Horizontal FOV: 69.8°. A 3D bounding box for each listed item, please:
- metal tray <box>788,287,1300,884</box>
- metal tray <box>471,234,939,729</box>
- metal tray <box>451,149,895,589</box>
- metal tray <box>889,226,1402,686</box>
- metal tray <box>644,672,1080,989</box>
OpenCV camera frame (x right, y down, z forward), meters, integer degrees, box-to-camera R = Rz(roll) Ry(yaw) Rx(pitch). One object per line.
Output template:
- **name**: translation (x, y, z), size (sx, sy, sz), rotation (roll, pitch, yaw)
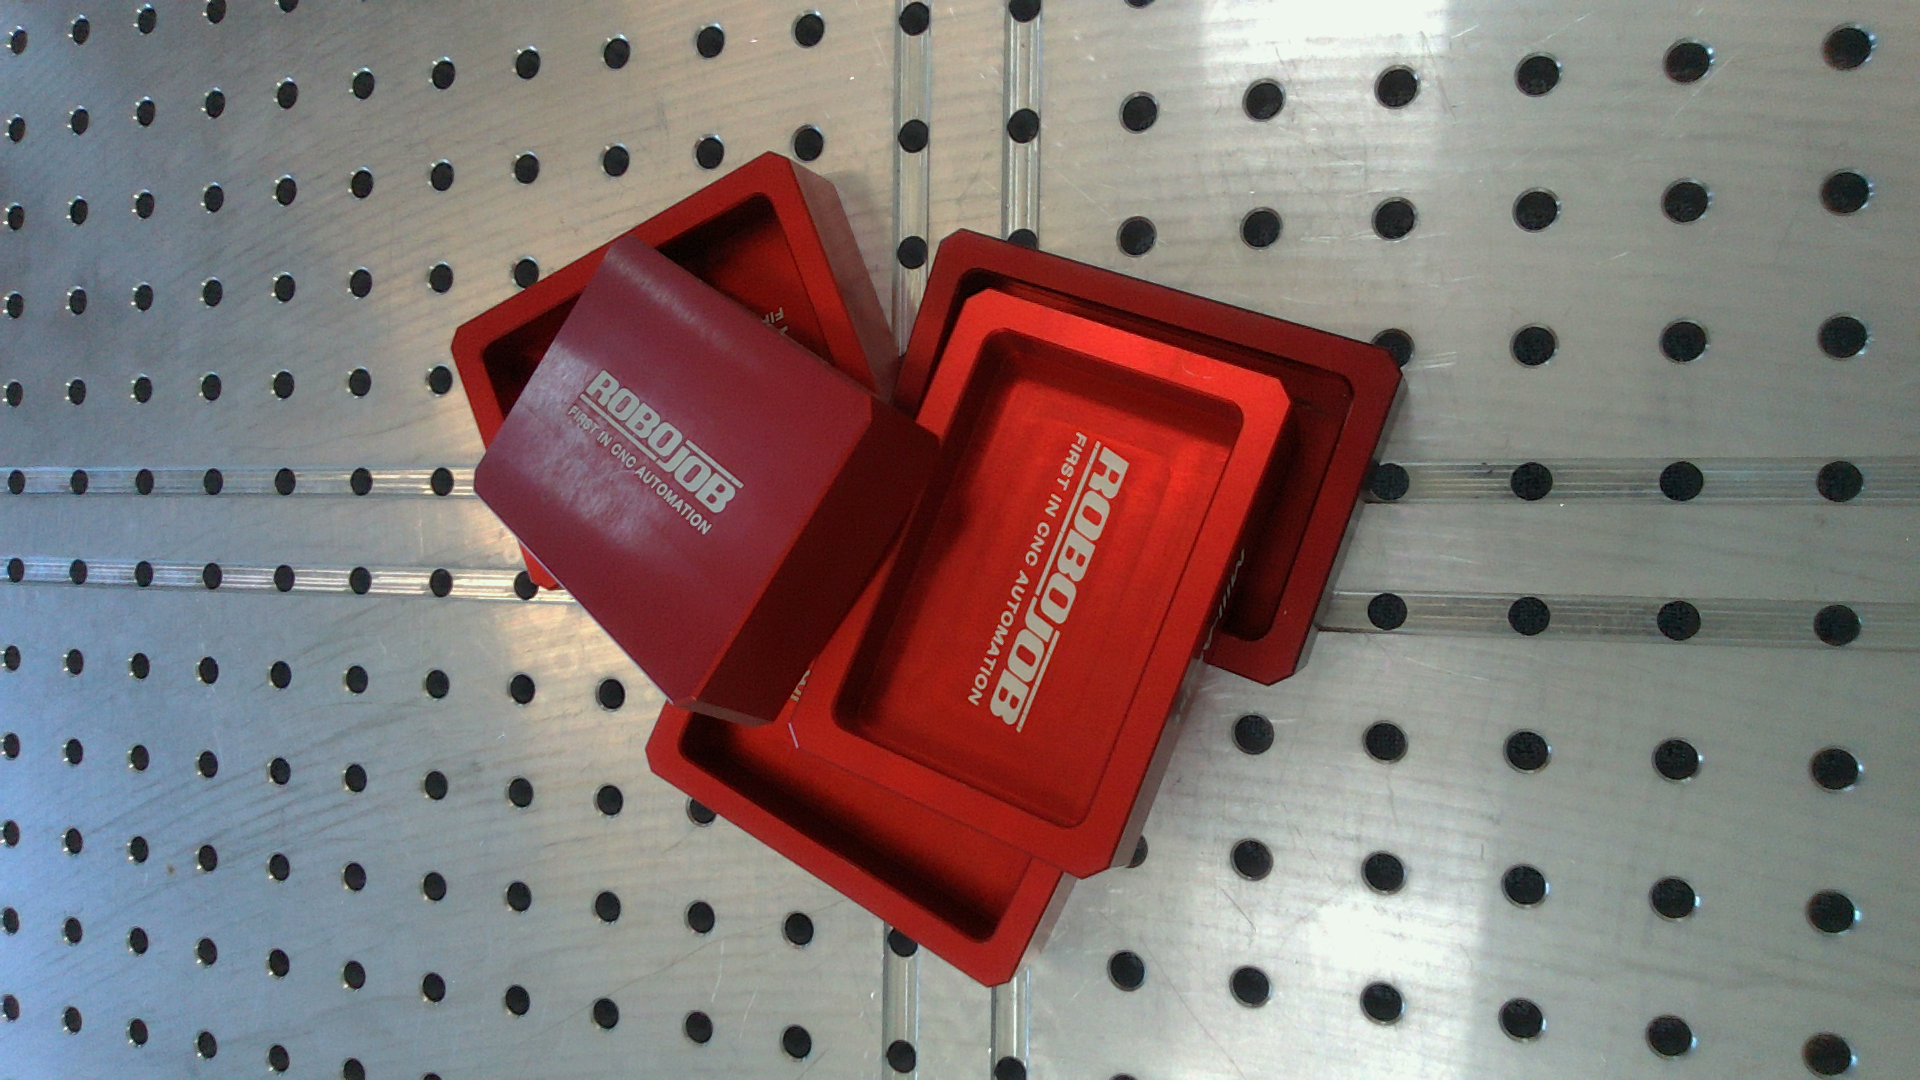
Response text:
- **metal tray**: translation (0.023, 0.010, 0.354), size (0.090, 0.030, 0.130), rotation (21, 86, 19)
- **metal tray**: translation (-0.076, -0.020, 0.380), size (0.130, 0.030, 0.090), rotation (36, 95, 39)
- **metal tray**: translation (-0.087, -0.049, 0.427), size (0.130, 0.030, 0.090), rotation (-24, 82, 19)
- **metal tray**: translation (0.044, -0.025, 0.379), size (0.130, 0.030, 0.090), rotation (20, 96, 20)
- **metal tray**: translation (-0.020, 0.056, 0.403), size (0.130, 0.030, 0.090), rotation (28, 99, 18)
